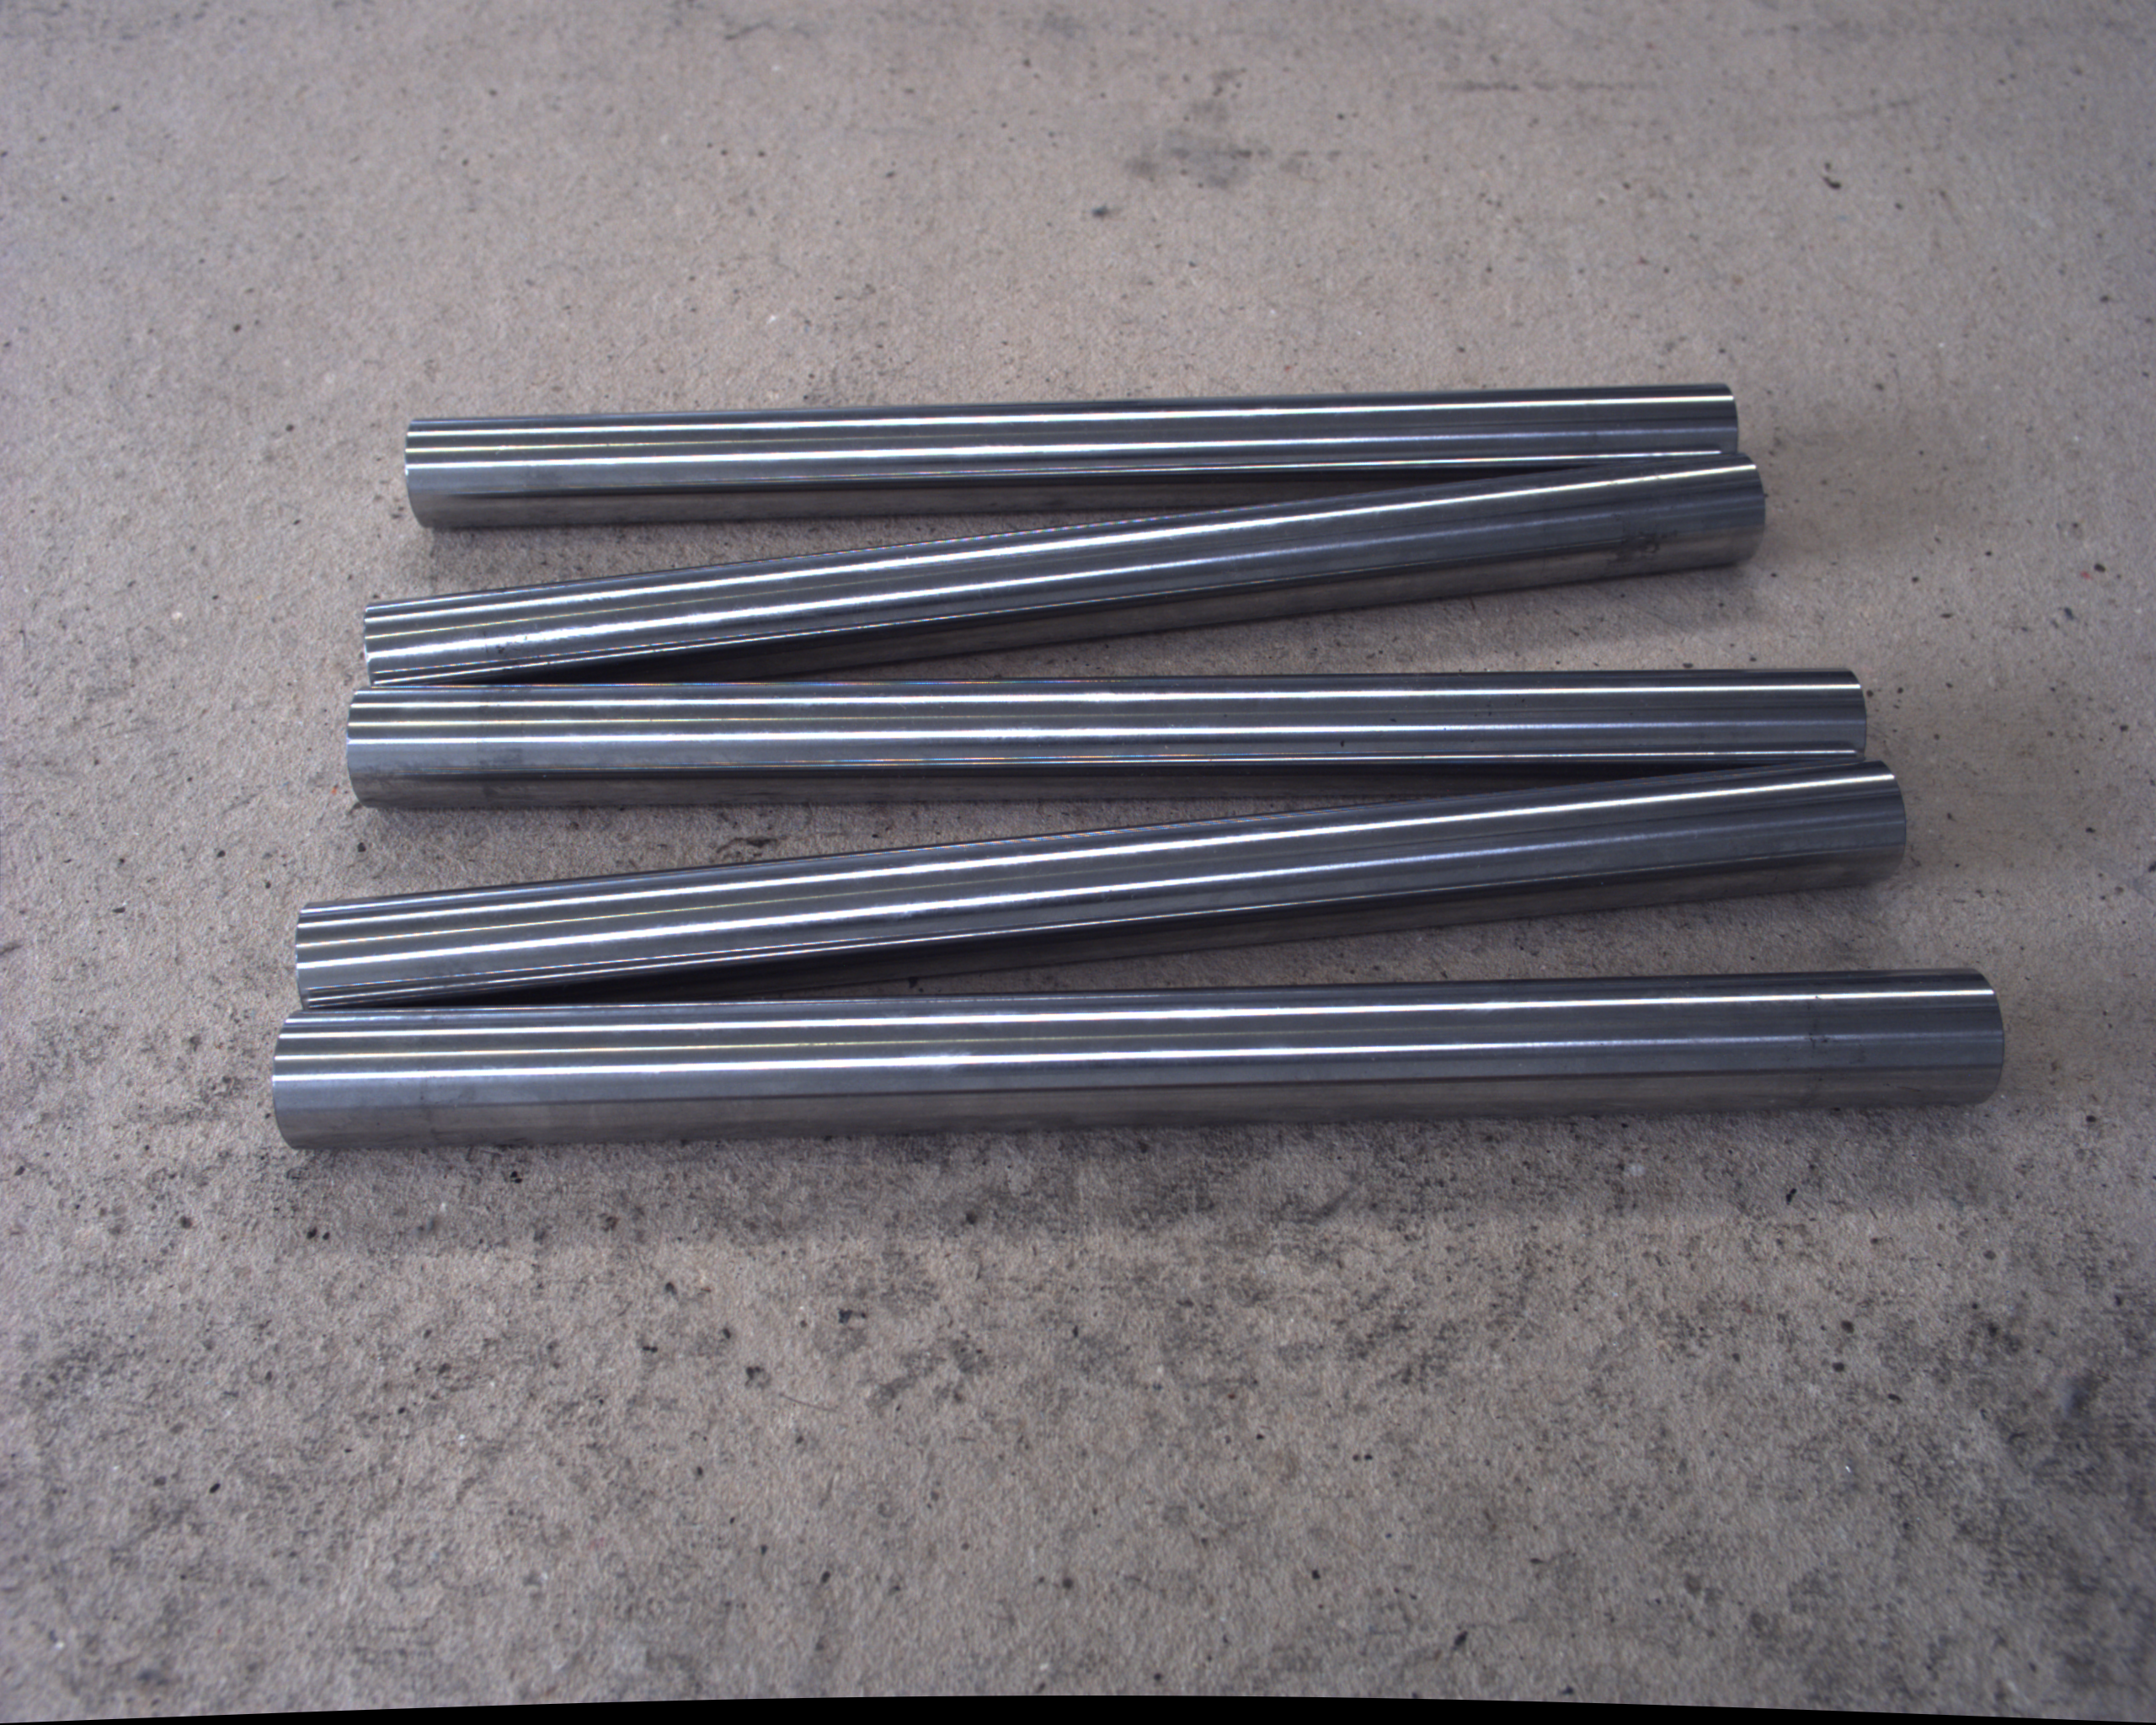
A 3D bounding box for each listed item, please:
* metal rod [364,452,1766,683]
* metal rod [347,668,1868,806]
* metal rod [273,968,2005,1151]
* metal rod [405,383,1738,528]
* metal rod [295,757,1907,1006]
[{"bbox_3d":[0.002,-0.062,0.457,0.302,0.025,0.025,-7,51,-6],"label":"metal rod"},{"bbox_3d":[0.007,-0.026,0.426,0.302,0.025,0.025,-1,50,-1],"label":"metal rod"},{"bbox_3d":[0.012,0.035,0.375,0.302,0.025,0.025,-1,50,-2],"label":"metal rod"},{"bbox_3d":[0.000,-0.095,0.484,0.302,0.025,0.025,-2,50,-2],"label":"metal rod"},{"bbox_3d":[0.008,0.006,0.400,0.302,0.025,0.025,-5,50,-5],"label":"metal rod"}]
